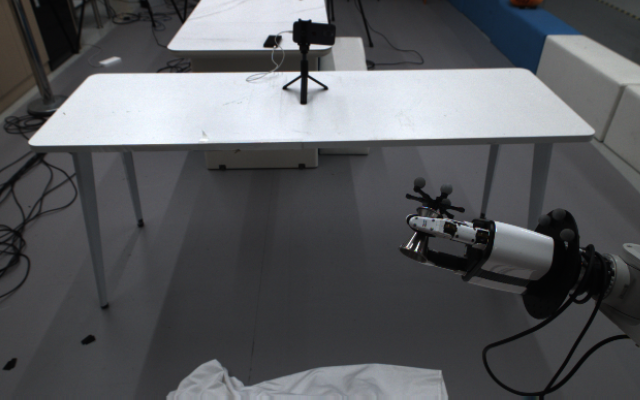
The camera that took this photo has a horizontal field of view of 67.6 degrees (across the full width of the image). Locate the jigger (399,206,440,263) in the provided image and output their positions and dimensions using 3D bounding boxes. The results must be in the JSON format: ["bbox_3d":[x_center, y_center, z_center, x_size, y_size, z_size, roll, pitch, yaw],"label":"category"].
[{"bbox_3d":[0.142,0.045,0.686,0.043,0.043,0.071,20,72,24],"label":"jigger"}]
